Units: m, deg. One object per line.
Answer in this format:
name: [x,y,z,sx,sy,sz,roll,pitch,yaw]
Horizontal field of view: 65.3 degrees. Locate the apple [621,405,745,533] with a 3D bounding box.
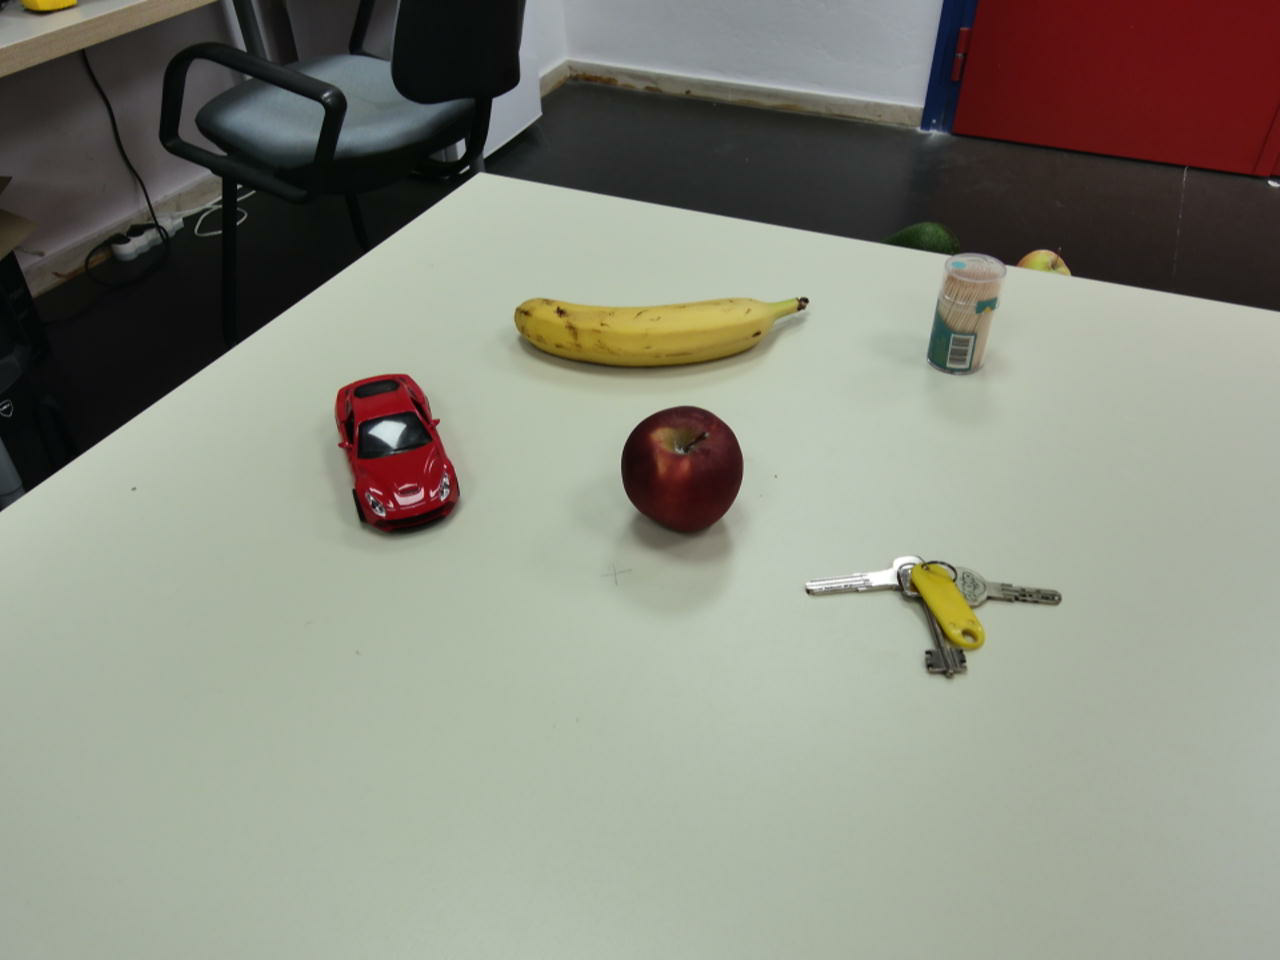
apple: [0.024,-0.005,0.562,0.070,0.072,0.070,0,38,0]
